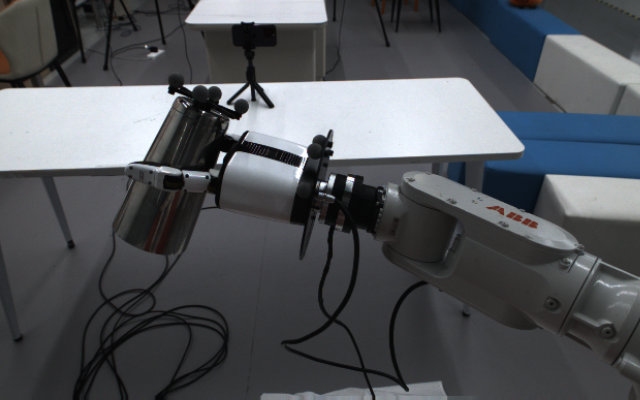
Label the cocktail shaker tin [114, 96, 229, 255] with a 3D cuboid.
[{"bbox_3d":[-0.168,-0.032,0.573,0.093,0.170,0.093,24,12,-6],"label":"cocktail shaker tin"}]
